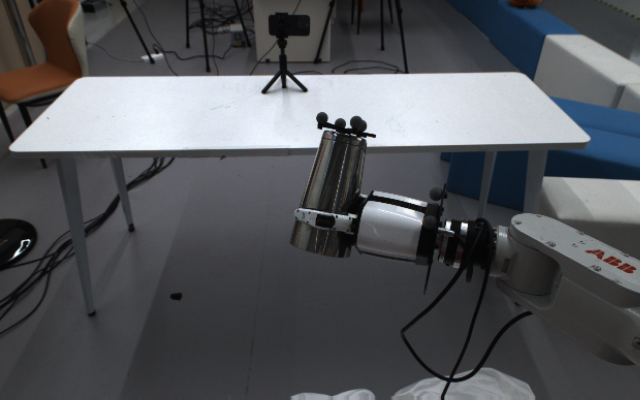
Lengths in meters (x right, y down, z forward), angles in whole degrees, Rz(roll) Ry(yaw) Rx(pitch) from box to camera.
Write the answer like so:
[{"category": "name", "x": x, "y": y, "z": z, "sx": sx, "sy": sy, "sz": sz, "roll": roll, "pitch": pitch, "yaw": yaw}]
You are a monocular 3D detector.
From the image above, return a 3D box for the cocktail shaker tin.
[{"category": "cocktail shaker tin", "x": 0.018, "y": -0.011, "z": 0.708, "sx": 0.093, "sy": 0.170, "sz": 0.093, "roll": 13, "pitch": 4, "yaw": -1}]
